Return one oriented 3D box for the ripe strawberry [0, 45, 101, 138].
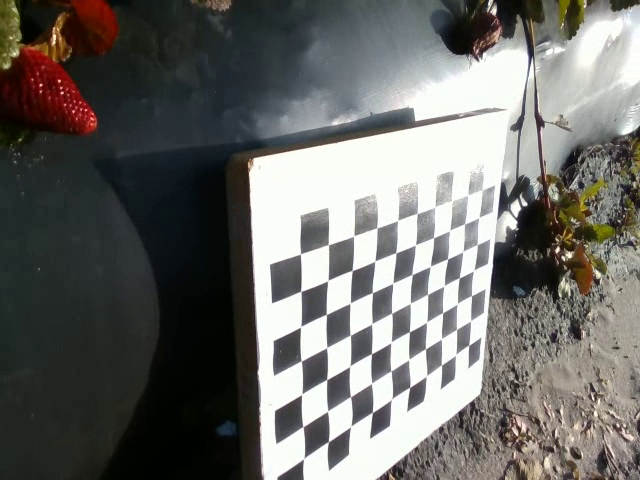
[{"bbox_3d":[-0.116,-0.057,0.266,0.056,0.041,0.041,29,-10,-5],"label":"ripe strawberry"}]
